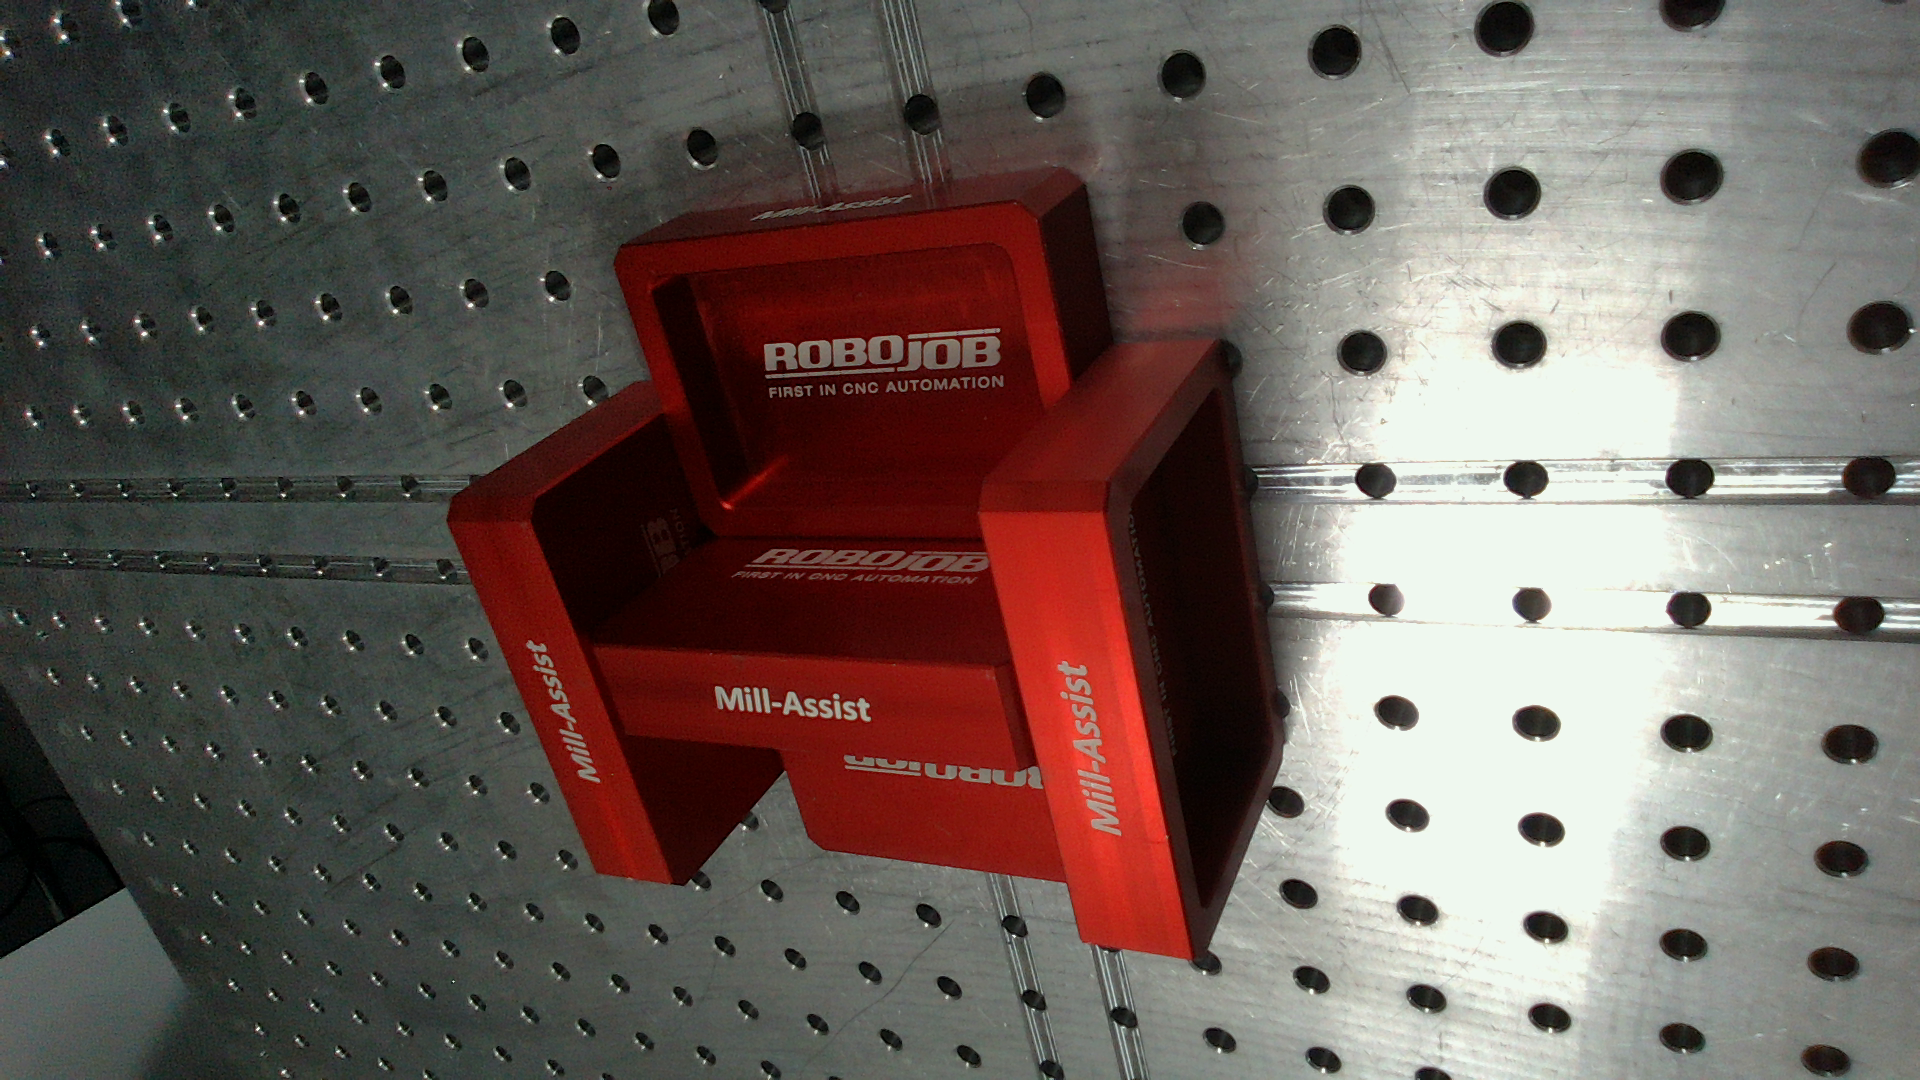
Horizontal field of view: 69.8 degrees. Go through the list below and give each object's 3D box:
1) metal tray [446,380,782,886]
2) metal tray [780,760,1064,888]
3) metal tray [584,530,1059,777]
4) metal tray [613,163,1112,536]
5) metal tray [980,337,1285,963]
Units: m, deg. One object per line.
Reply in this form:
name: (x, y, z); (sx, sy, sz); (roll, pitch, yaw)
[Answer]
metal tray: (-0.092, 0.027, 0.419); (0.030, 0.090, 0.130); (1, 119, 28)
metal tray: (0.003, 0.060, 0.427); (0.130, 0.030, 0.090); (0, 119, 28)
metal tray: (-0.024, 0.021, 0.378); (0.130, 0.090, 0.030); (1, 119, 28)
metal tray: (-0.024, -0.047, 0.376); (0.130, 0.030, 0.090); (0, 119, 28)
metal tray: (0.049, 0.026, 0.343); (0.030, 0.090, 0.130); (1, 119, 28)
